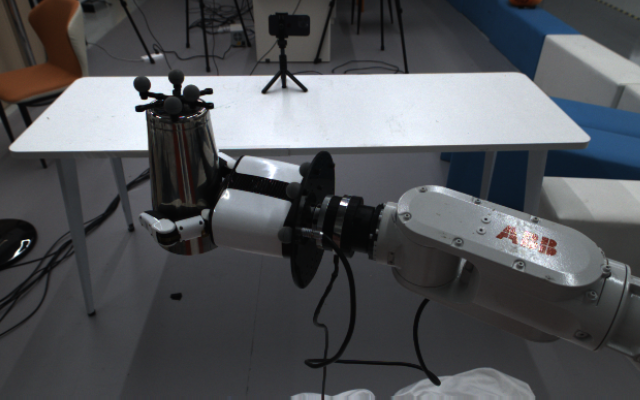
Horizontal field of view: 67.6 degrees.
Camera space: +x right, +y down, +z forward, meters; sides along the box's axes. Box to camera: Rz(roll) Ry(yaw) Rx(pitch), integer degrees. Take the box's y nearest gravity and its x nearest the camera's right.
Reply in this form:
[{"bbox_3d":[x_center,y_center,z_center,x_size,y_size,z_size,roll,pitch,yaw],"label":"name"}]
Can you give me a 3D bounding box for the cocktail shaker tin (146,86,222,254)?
[{"bbox_3d":[-0.156,-0.030,0.567,0.093,0.170,0.093,2,35,-1],"label":"cocktail shaker tin"}]
